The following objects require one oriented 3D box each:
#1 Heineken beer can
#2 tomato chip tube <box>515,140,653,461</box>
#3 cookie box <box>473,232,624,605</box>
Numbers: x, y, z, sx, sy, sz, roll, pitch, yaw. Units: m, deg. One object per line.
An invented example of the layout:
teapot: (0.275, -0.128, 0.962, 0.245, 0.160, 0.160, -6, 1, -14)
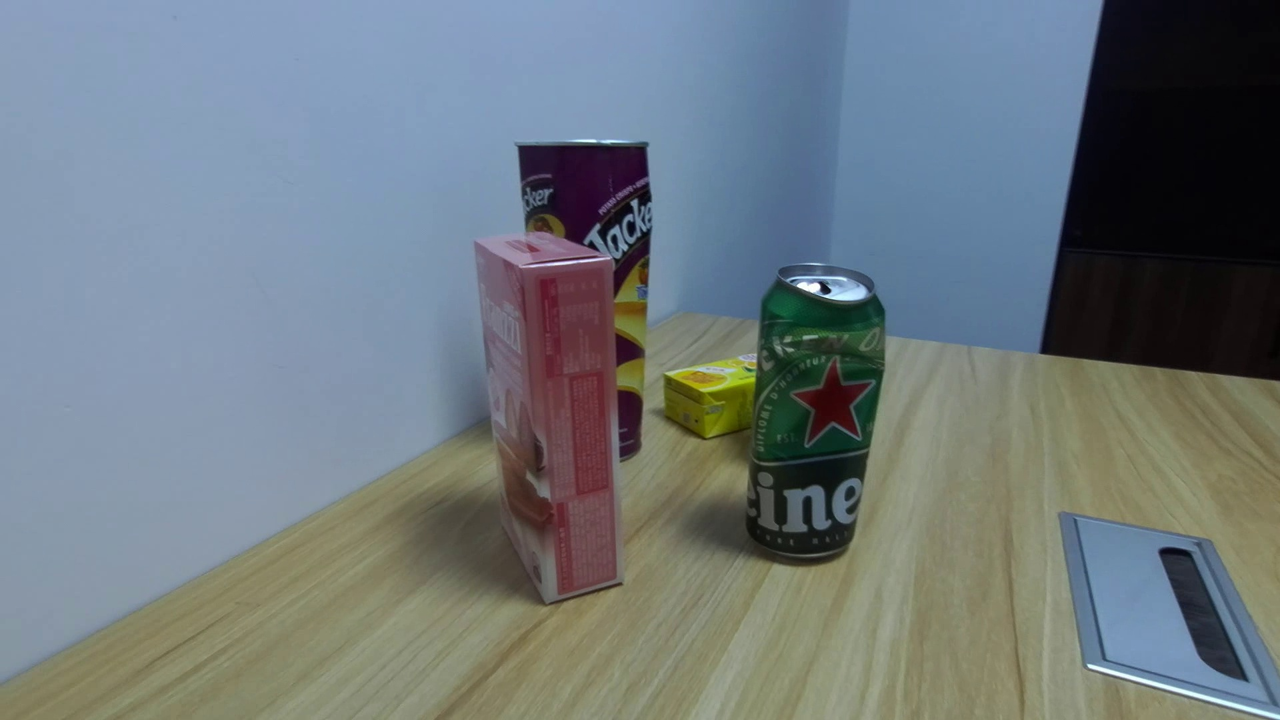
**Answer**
Heineken beer can: (0.100, 0.034, 0.409, 0.068, 0.168, 0.069, 11, 23, 22)
tomato chip tube: (-0.036, -0.043, 0.536, 0.077, 0.235, 0.076, 8, 19, 28)
cookie box: (-0.050, 0.029, 0.394, 0.048, 0.184, 0.096, -9, 21, -23)
